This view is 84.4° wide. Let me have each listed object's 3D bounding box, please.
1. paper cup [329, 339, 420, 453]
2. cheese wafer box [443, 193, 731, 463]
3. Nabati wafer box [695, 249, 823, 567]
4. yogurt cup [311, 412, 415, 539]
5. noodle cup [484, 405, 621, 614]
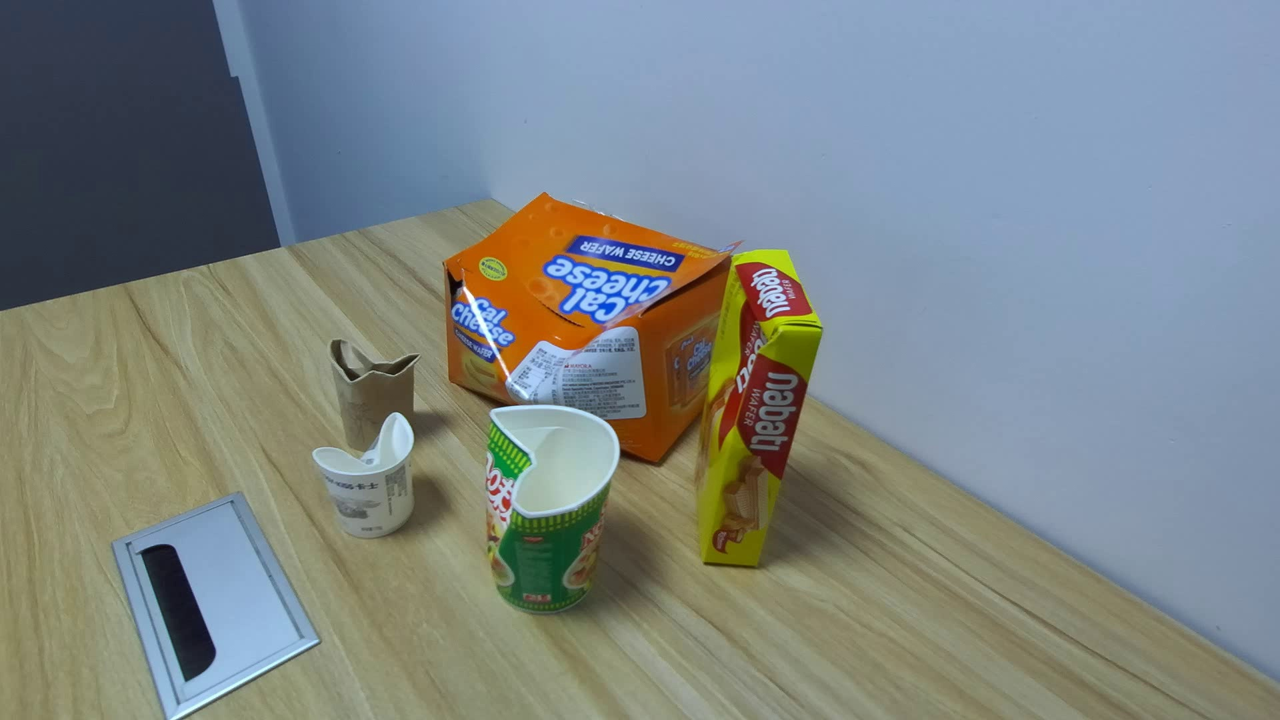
[{"bbox_3d":[-0.212,0.026,0.570,0.058,0.083,0.066,-20,41,-34],"label":"paper cup"},{"bbox_3d":[-0.047,-0.033,0.610,0.218,0.145,0.192,20,37,22],"label":"cheese wafer box"},{"bbox_3d":[0.070,0.037,0.466,0.042,0.203,0.096,4,36,-2],"label":"Nabati wafer box"},{"bbox_3d":[-0.187,0.083,0.494,0.067,0.070,0.067,4,34,-2],"label":"yogurt cup"},{"bbox_3d":[-0.058,0.101,0.448,0.087,0.109,0.093,4,35,2],"label":"noodle cup"}]
